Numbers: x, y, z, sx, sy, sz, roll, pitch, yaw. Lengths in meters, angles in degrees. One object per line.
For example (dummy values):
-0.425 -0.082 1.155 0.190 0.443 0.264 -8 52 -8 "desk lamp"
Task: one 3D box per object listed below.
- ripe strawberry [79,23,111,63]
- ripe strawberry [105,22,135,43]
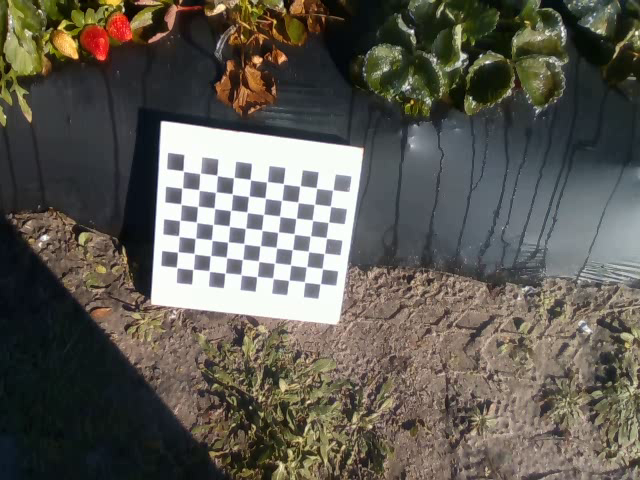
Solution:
-0.277 -0.240 0.789 0.036 0.052 0.040 -31 -24 4 "ripe strawberry"
-0.251 -0.268 0.801 0.041 0.036 0.030 34 10 -5 "ripe strawberry"
